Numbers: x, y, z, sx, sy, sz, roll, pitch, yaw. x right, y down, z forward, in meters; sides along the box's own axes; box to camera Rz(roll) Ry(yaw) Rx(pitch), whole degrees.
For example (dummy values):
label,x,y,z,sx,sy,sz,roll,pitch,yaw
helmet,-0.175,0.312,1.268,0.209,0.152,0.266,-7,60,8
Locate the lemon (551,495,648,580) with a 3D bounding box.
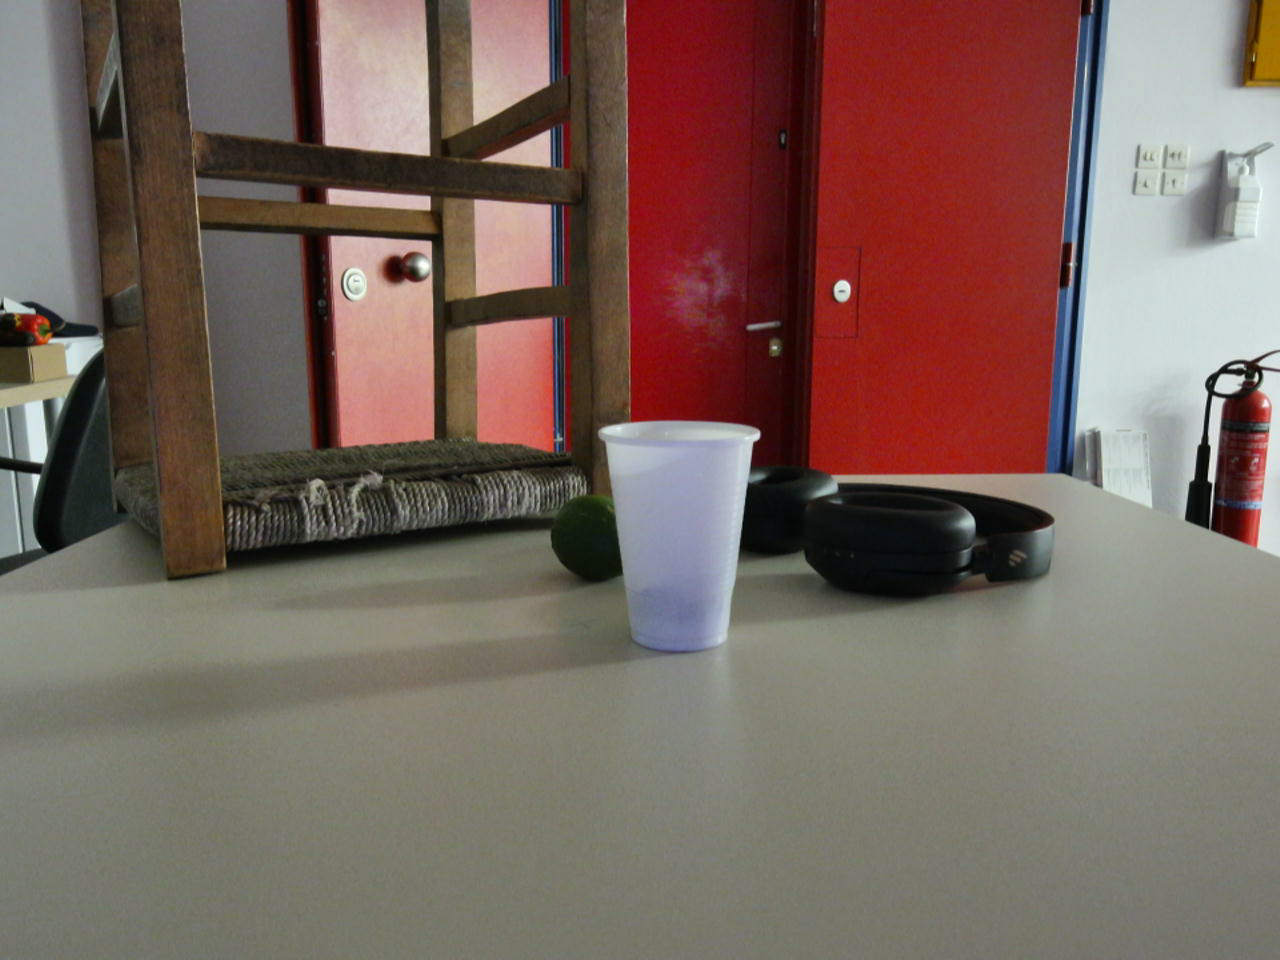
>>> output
label,x,y,z,sx,sy,sz,roll,pitch,yaw
lemon,-0.026,0.034,0.607,0.057,0.051,0.054,-1,8,-4
